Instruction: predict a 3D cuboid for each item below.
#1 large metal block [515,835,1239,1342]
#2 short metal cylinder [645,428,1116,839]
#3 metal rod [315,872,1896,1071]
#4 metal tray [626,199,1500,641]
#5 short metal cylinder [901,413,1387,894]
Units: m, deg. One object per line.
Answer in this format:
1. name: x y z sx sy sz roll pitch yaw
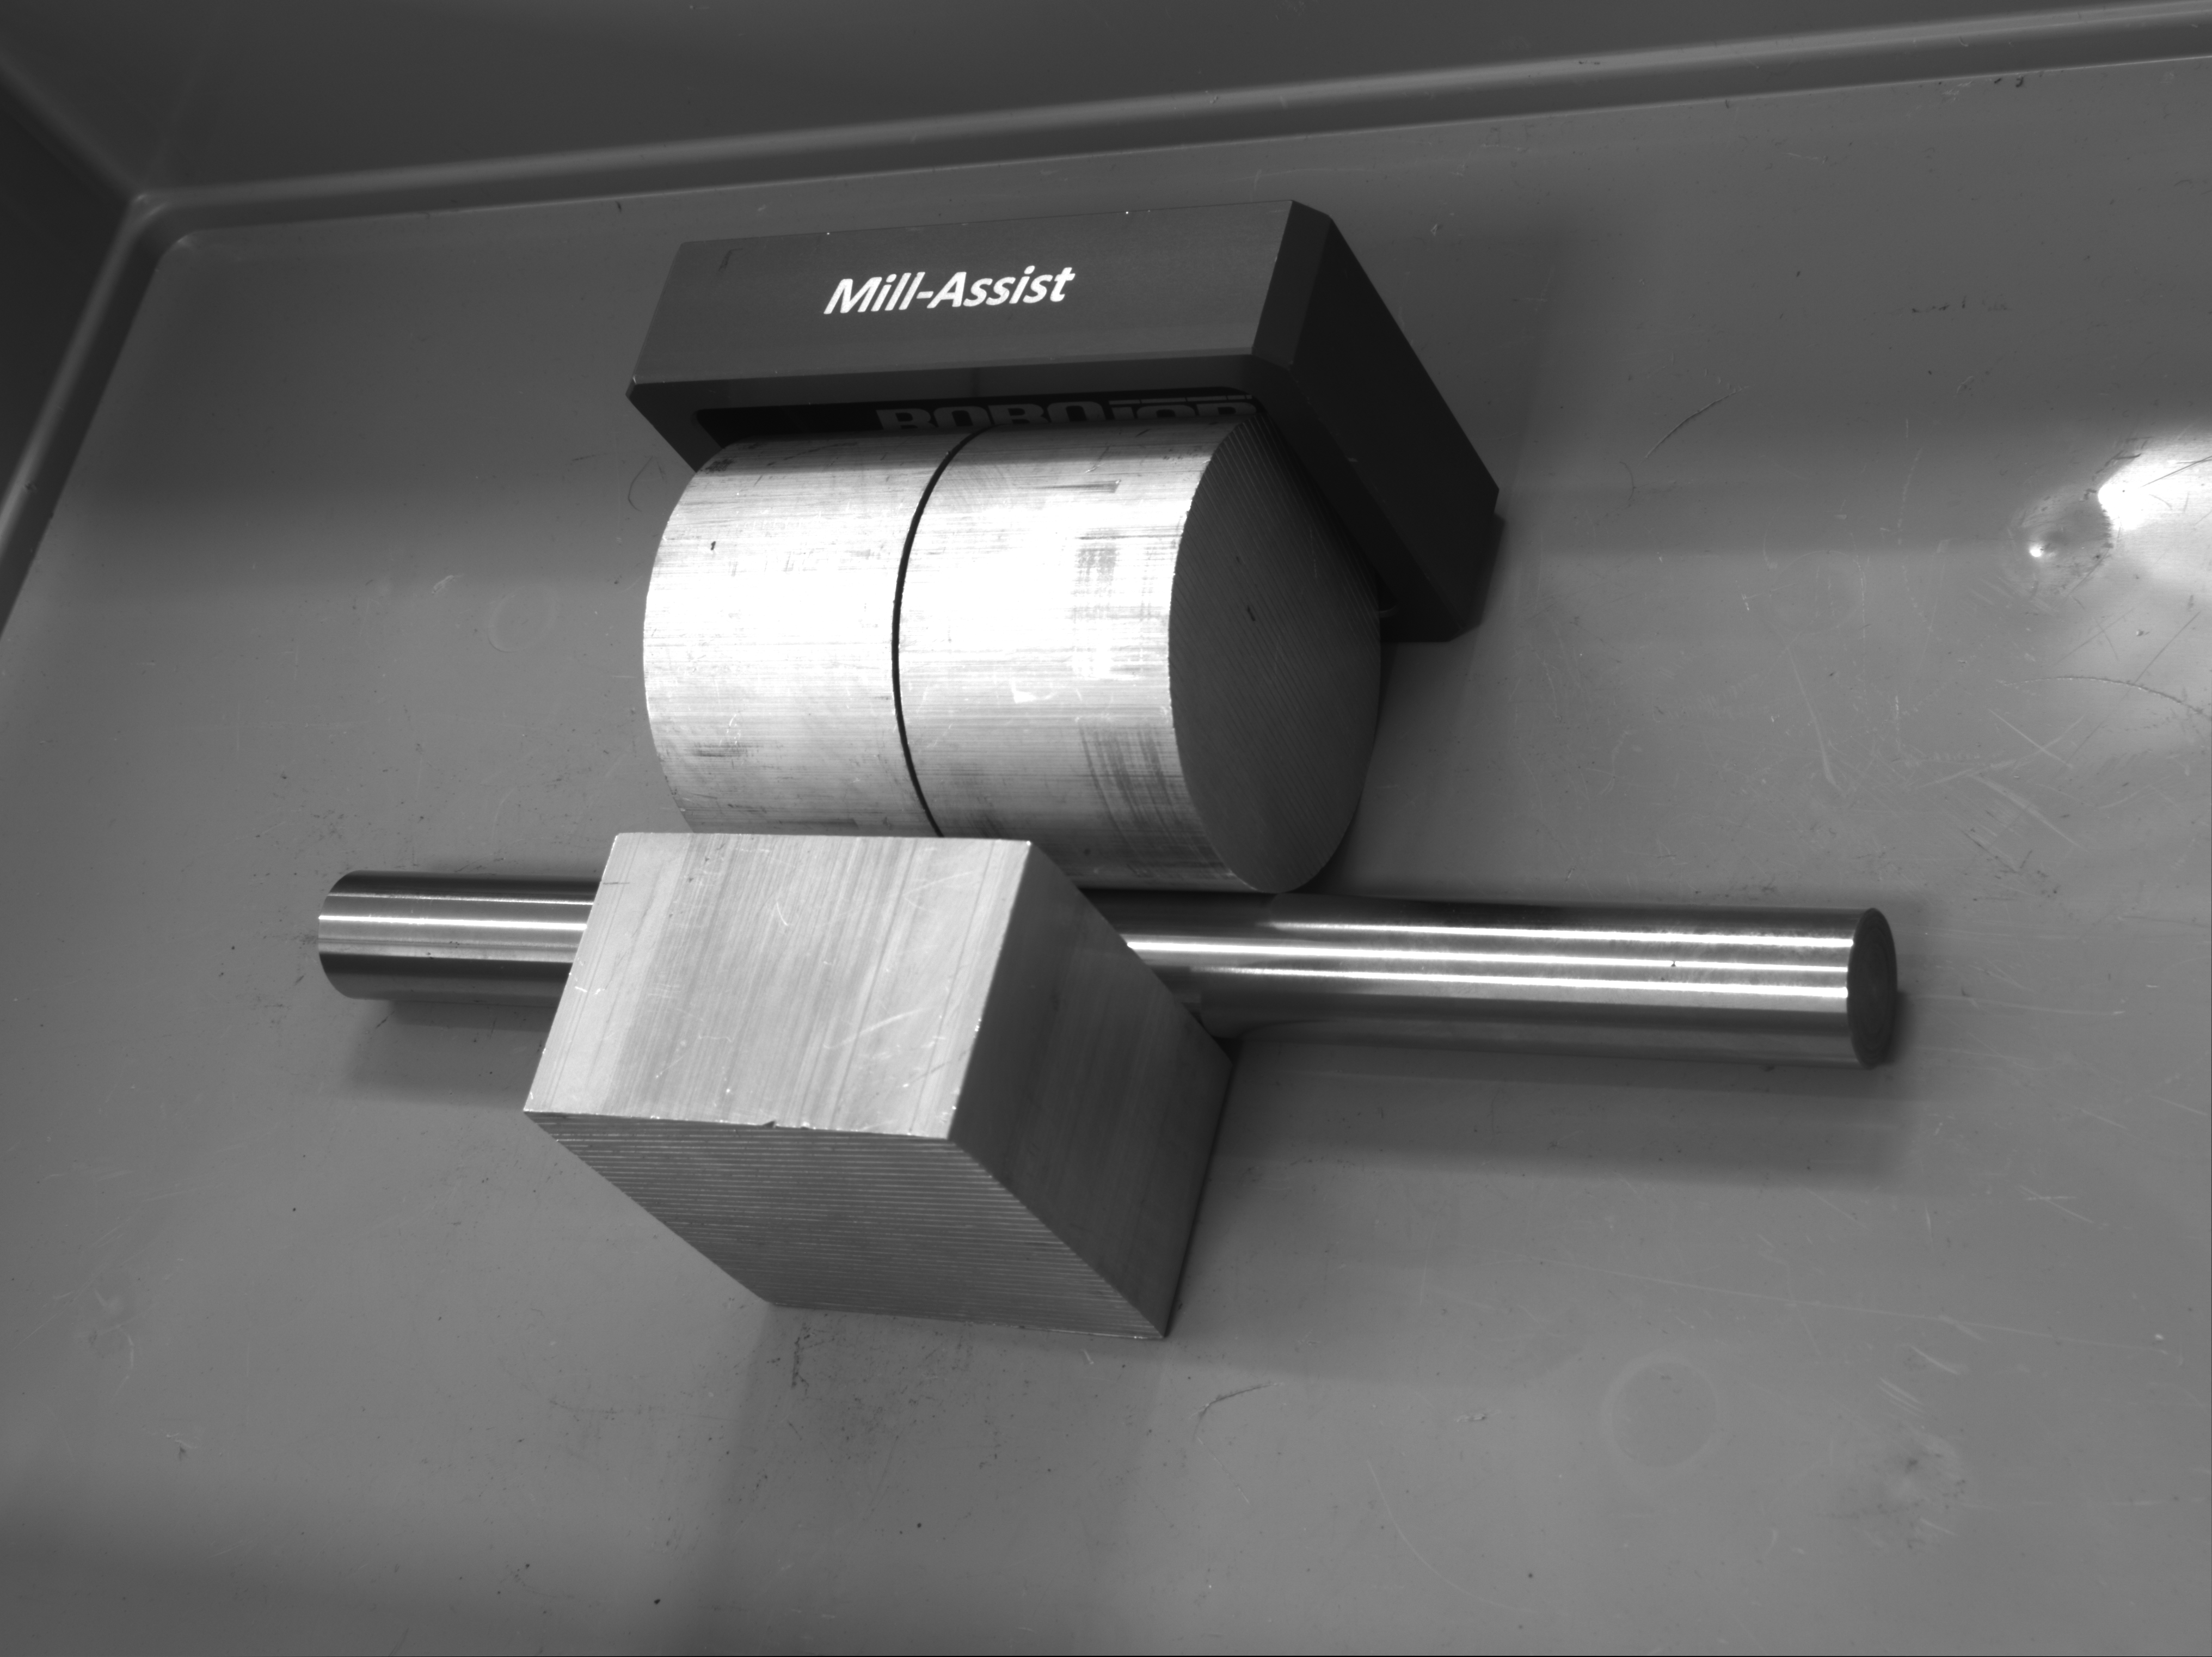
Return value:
1. large metal block: -0.035 0.043 0.601 0.080 0.080 0.050 1 62 29
2. short metal cylinder: -0.037 -0.030 0.648 0.050 0.080 0.080 1 62 29
3. metal rod: -0.013 0.023 0.637 0.299 0.025 0.025 1 62 29
4. metal tray: -0.007 -0.068 0.648 0.130 0.090 0.030 1 62 29
5. short metal cylinder: 0.008 -0.030 0.624 0.050 0.080 0.080 2 62 29
